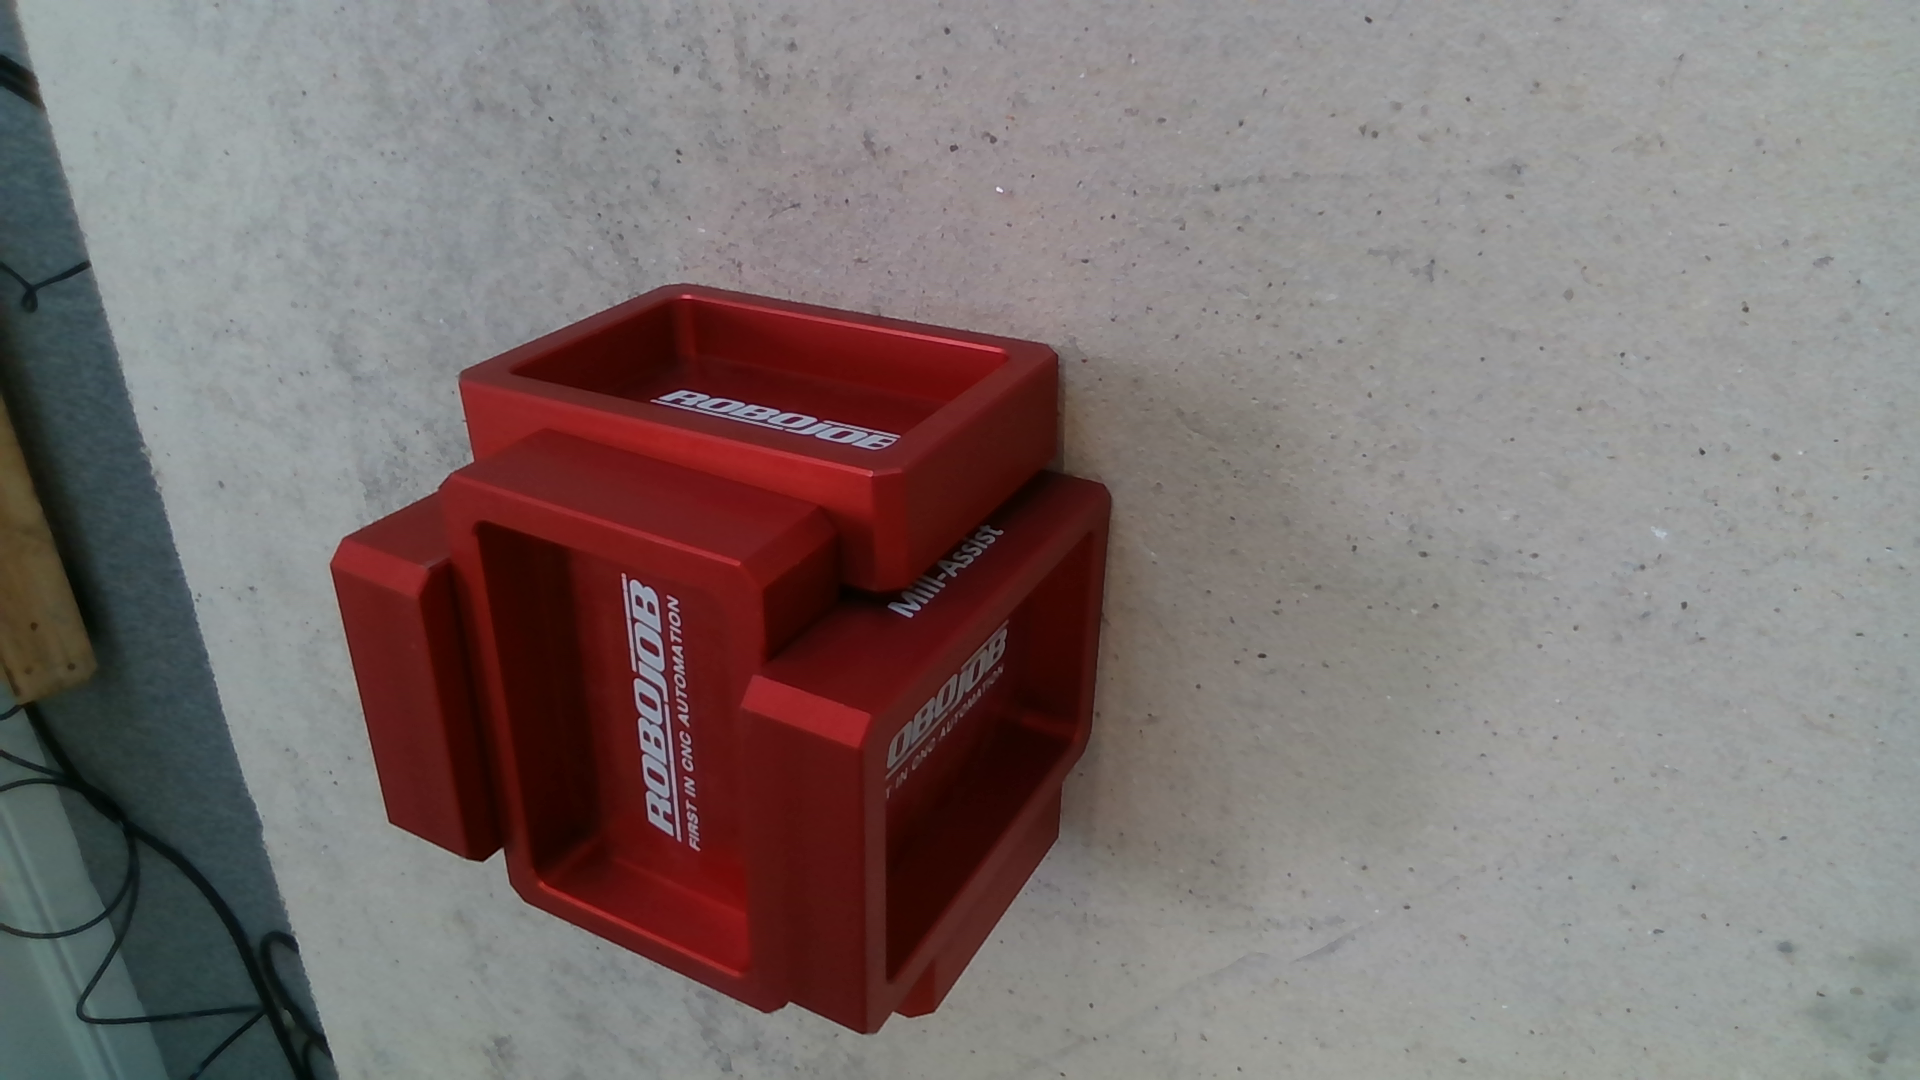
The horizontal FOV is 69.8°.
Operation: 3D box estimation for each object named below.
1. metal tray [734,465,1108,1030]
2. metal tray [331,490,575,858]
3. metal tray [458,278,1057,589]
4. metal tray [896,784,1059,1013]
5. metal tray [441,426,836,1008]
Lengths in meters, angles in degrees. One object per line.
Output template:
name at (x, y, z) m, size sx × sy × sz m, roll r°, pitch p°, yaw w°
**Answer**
metal tray at (-0.004, 0.045, 0.348) m, size 0.030 × 0.130 × 0.090 m, roll 16°, pitch 123°, yaw 24°
metal tray at (-0.109, 0.017, 0.397) m, size 0.030 × 0.130 × 0.090 m, roll 16°, pitch 122°, yaw 25°
metal tray at (-0.051, -0.034, 0.359) m, size 0.130 × 0.090 × 0.030 m, roll 14°, pitch 122°, yaw 25°
metal tray at (-0.046, 0.081, 0.419) m, size 0.130 × 0.090 × 0.030 m, roll 15°, pitch 121°, yaw 23°
metal tray at (-0.075, 0.045, 0.340) m, size 0.090 × 0.030 × 0.130 m, roll 16°, pitch 122°, yaw 24°
